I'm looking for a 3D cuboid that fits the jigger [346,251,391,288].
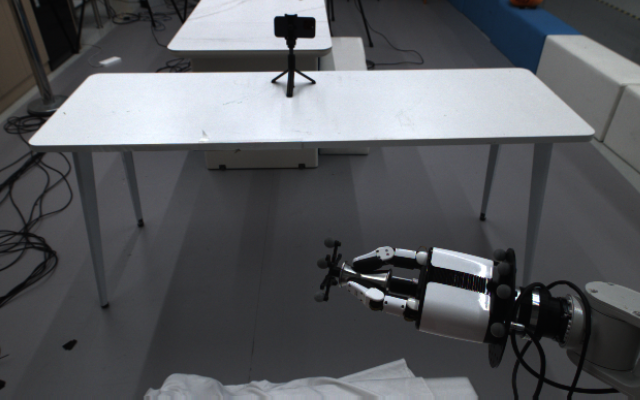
[{"bbox_3d":[0.071,0.110,0.691,0.071,0.043,0.043,11,36,16],"label":"jigger"}]
